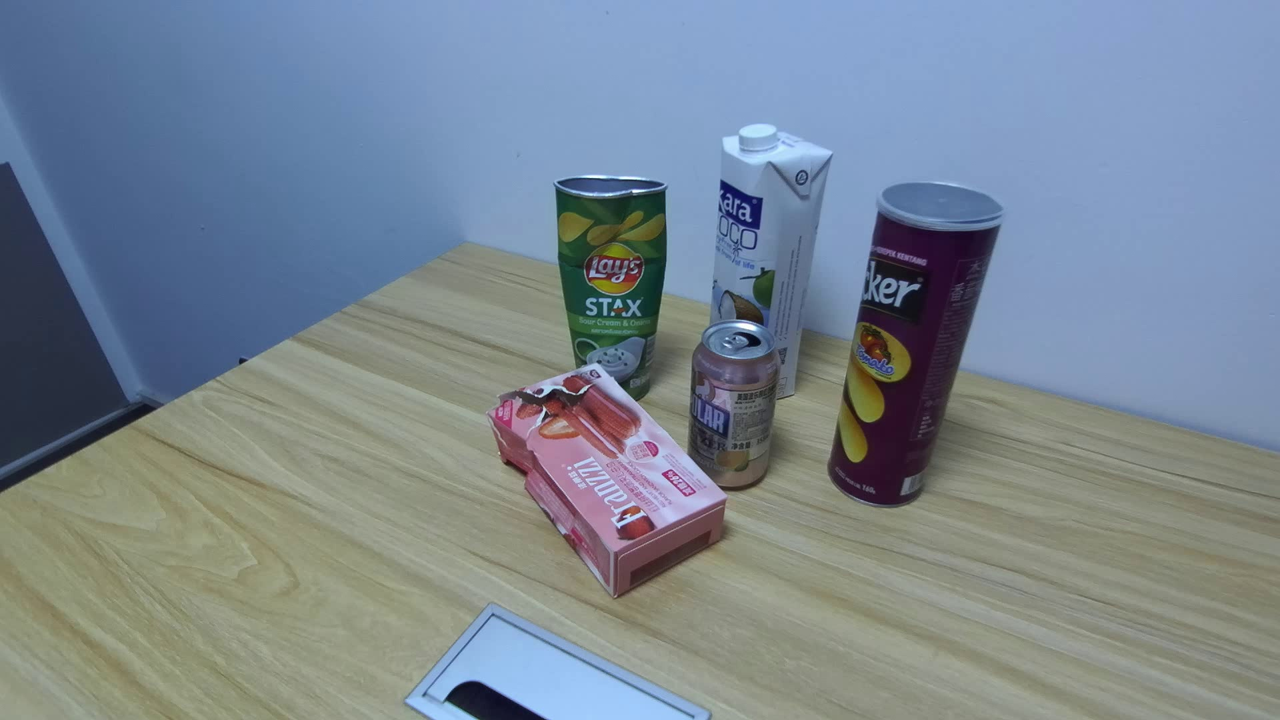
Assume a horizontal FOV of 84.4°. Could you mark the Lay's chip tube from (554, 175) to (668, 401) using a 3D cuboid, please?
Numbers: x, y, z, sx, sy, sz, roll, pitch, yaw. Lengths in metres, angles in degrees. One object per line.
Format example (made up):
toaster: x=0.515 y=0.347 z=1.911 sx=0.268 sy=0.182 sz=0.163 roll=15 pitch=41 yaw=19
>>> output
Lay's chip tube: x=-0.023 y=-0.060 z=0.625 sx=0.075 sy=0.200 sz=0.068 roll=-20 pitch=37 yaw=-27

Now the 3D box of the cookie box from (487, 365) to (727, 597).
cookie box: x=-0.028 y=0.081 z=0.543 sx=0.105 sy=0.059 sz=0.185 roll=-23 pitch=42 yaw=-28

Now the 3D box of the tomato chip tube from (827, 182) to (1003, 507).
tomato chip tube: x=0.193 y=-0.002 z=0.514 sx=0.078 sy=0.234 sz=0.078 roll=0 pitch=33 yaw=1

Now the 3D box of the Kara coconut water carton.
Kara coconut water carton: x=0.106 y=-0.080 z=0.615 sx=0.075 sy=0.245 sz=0.076 roll=-13 pitch=36 yaw=-21

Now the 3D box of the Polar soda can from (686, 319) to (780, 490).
Polar soda can: x=0.074 y=0.036 z=0.555 sx=0.067 sy=0.126 sz=0.067 roll=-1 pitch=32 yaw=1
